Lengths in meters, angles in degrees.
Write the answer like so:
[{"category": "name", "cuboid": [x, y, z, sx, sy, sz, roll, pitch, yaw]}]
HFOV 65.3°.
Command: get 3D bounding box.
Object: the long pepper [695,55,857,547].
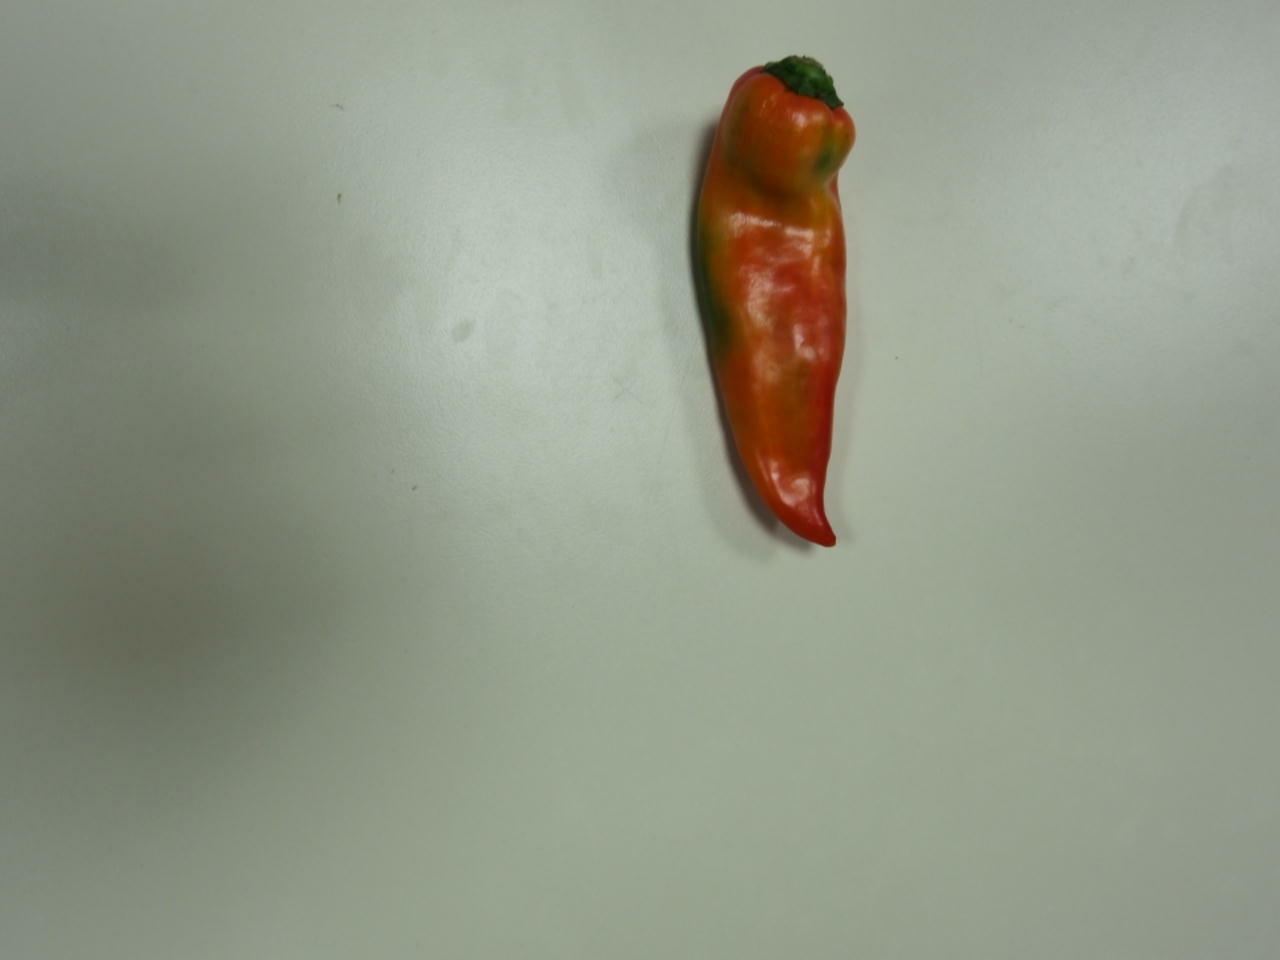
[{"category": "long pepper", "cuboid": [0.064, -0.070, 0.415, 0.066, 0.065, 0.199, -5, 92, -11]}]
